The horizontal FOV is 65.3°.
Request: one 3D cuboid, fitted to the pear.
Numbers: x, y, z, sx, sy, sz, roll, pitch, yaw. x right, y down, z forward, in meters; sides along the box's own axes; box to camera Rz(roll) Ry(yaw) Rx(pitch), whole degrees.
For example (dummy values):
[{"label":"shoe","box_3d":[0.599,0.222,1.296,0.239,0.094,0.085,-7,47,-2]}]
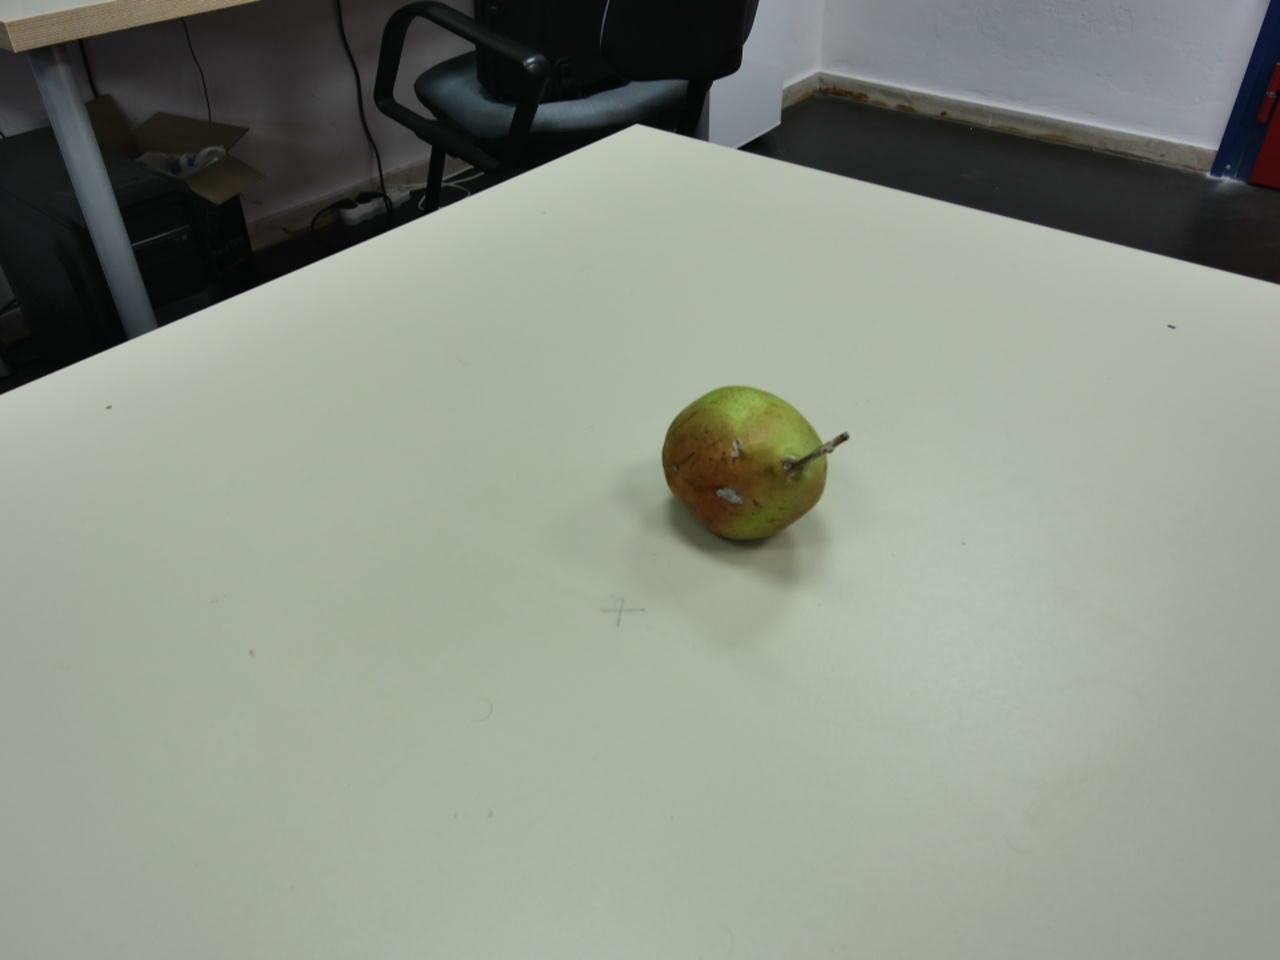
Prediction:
[{"label":"pear","box_3d":[0.043,-0.009,0.416,0.068,0.069,0.070,1,36,1]}]
